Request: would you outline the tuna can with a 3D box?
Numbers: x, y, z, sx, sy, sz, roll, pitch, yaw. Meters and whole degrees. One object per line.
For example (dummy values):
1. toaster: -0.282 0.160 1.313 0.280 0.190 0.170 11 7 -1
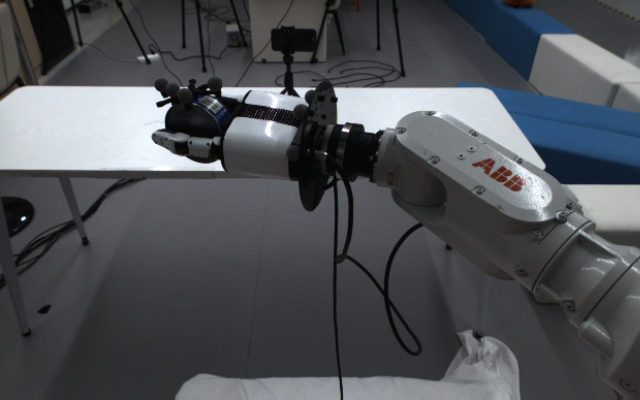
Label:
1. tuna can: -0.151 -0.092 0.620 0.085 0.085 0.034 14 39 16
